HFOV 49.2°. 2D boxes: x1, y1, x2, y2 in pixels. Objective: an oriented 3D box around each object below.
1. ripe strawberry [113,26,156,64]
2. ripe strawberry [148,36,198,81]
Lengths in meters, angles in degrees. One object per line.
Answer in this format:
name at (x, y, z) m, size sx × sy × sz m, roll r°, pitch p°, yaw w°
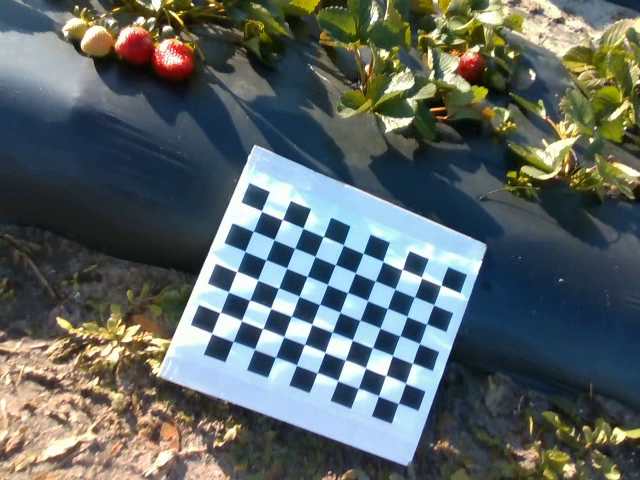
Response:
ripe strawberry at (-0.213, -0.226, 0.813) m, size 0.043 × 0.051 × 0.061 m, roll -42°, pitch 5°, yaw 31°
ripe strawberry at (-0.162, -0.209, 0.815) m, size 0.056 × 0.052 × 0.067 m, roll -29°, pitch 34°, yaw -14°
